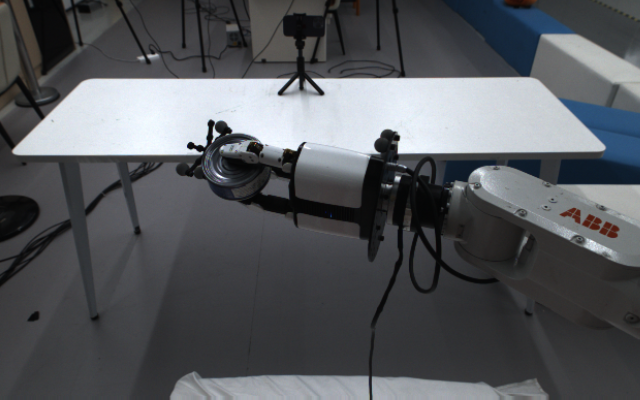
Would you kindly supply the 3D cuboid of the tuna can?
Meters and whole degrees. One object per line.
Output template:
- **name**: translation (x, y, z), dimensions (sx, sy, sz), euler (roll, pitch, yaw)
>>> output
- **tuna can**: translation (-0.104, -0.040, 0.624), dimensions (0.085, 0.034, 0.085), euler (-1, 62, 2)
